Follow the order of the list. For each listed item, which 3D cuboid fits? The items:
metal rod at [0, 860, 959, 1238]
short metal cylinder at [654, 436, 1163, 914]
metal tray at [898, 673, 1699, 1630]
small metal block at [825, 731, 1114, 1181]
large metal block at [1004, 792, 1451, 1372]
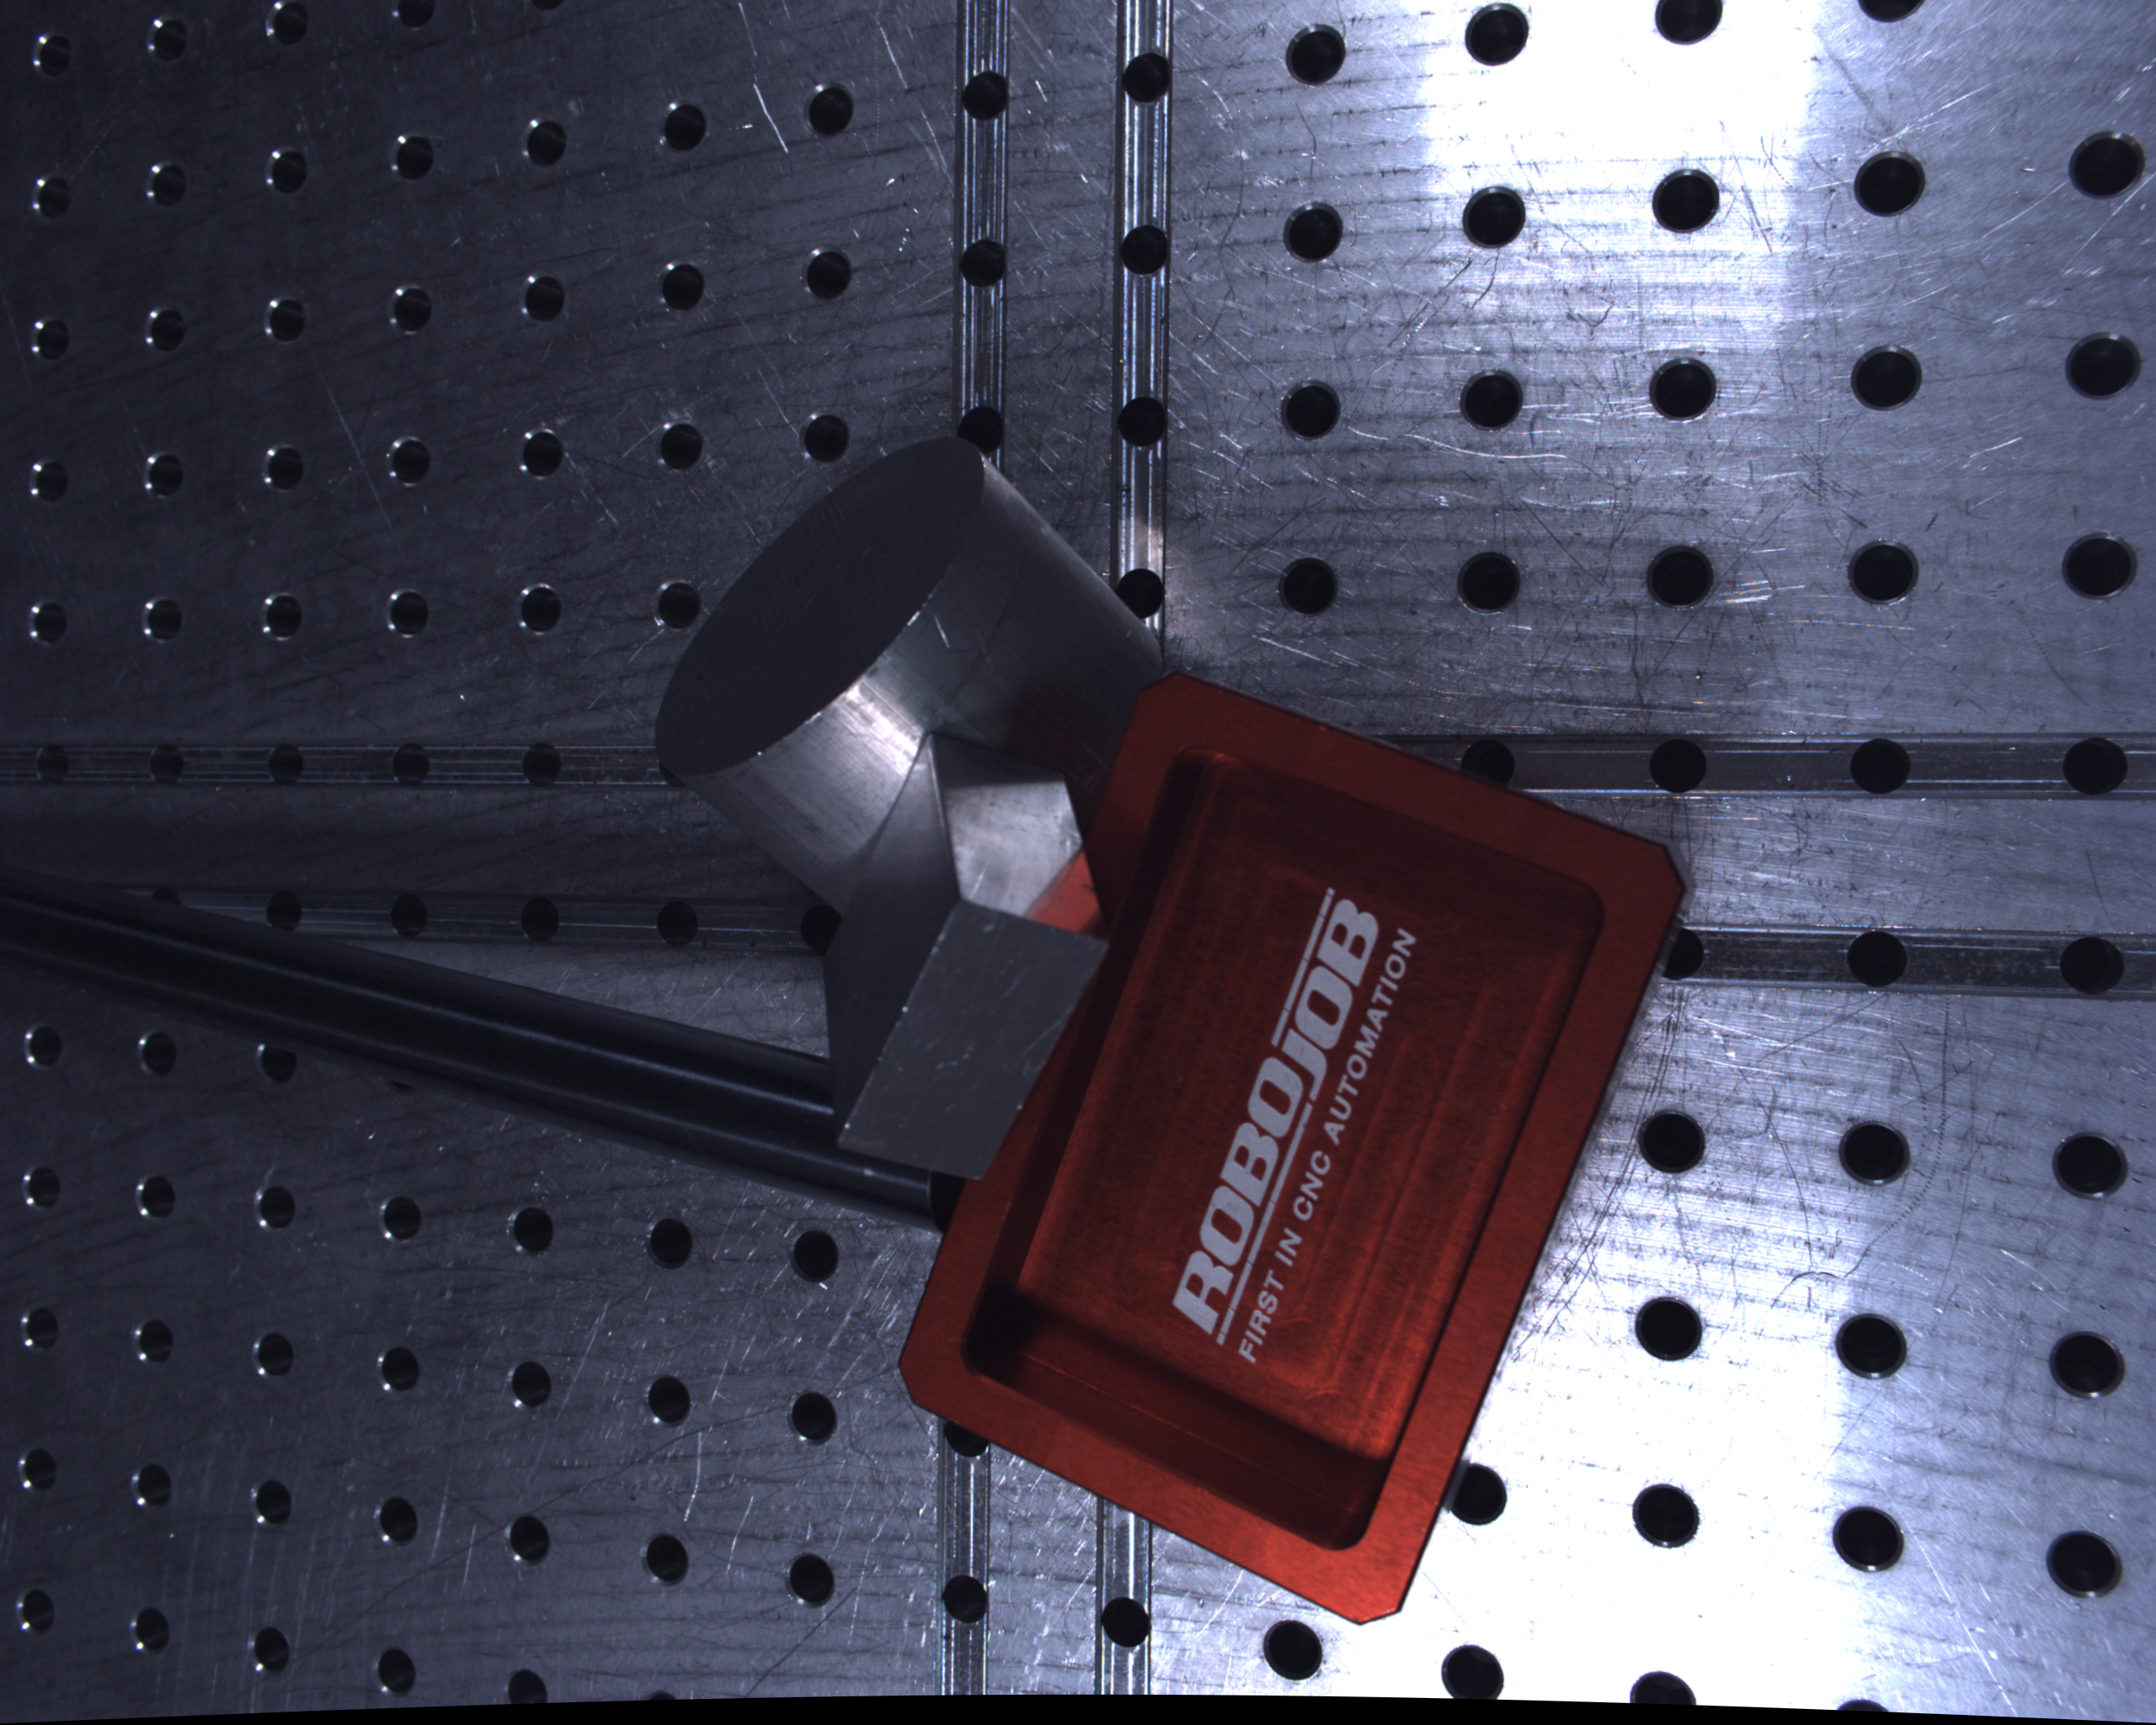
[{"bbox_3d":[-0.147,0.030,0.432,0.300,0.025,0.025,10,93,30],"label":"metal rod"},{"bbox_3d":[-0.032,-0.032,0.387,0.080,0.080,0.050,-36,121,16],"label":"short metal cylinder"},{"bbox_3d":[0.035,0.044,0.341,0.090,0.030,0.129,22,97,18],"label":"metal tray"},{"bbox_3d":[-0.020,0.015,0.342,0.025,0.050,0.050,17,119,-20],"label":"small metal block"},{"bbox_3d":[0.015,0.035,0.392,0.080,0.050,0.080,-37,79,16],"label":"large metal block"}]
